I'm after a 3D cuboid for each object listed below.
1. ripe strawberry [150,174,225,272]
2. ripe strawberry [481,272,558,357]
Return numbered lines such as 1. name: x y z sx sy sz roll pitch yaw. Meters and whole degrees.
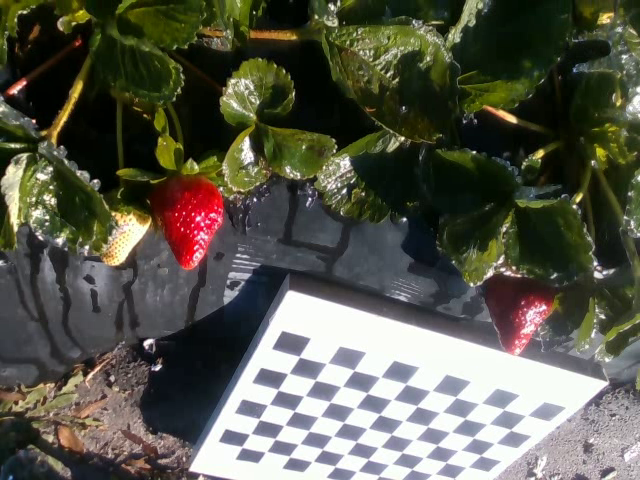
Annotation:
1. ripe strawberry: -0.080 -0.008 0.361 0.043 0.061 0.046 7 -1 -6
2. ripe strawberry: 0.136 0.054 0.409 0.049 0.061 0.044 12 8 -11
